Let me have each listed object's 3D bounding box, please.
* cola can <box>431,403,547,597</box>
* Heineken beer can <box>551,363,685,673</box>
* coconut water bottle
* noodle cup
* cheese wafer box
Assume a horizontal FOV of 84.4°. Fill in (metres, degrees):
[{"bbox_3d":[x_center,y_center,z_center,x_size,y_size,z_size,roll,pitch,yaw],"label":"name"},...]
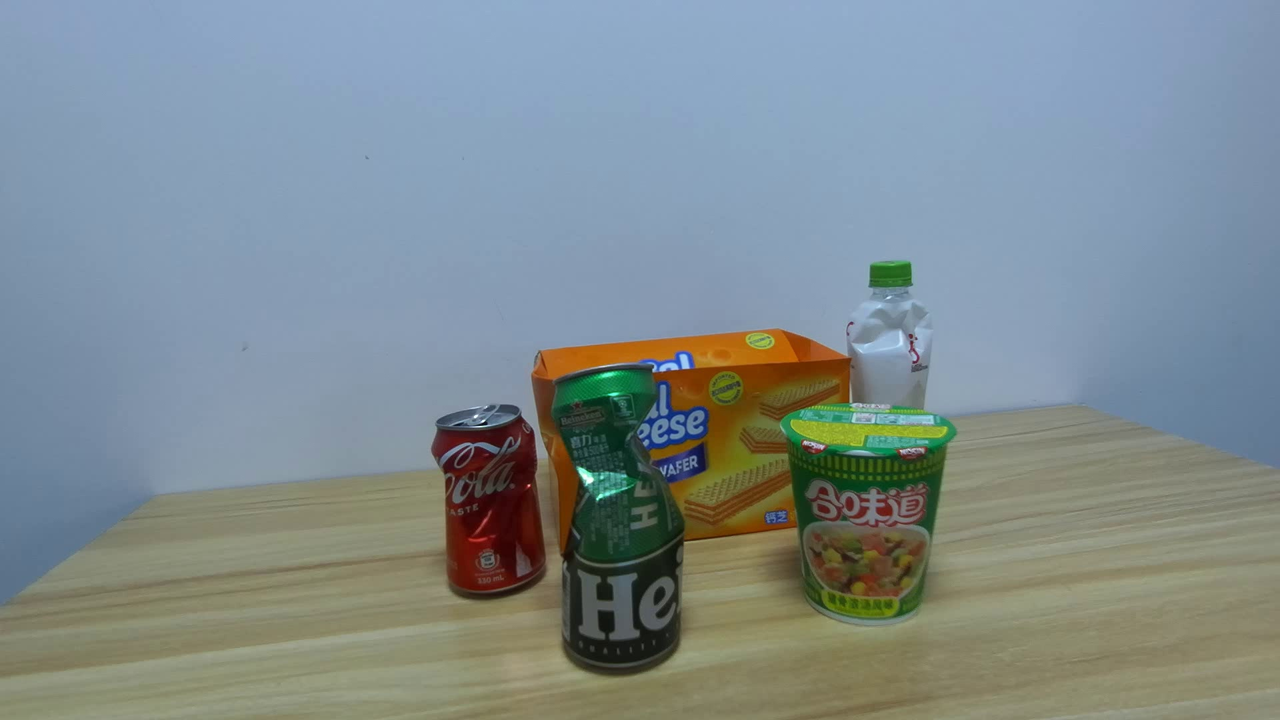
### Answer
[{"bbox_3d":[-0.099,0.089,0.465,0.066,0.117,0.066,-6,11,-17],"label":"cola can"},{"bbox_3d":[-0.012,0.081,0.382,0.067,0.159,0.078,-6,4,-35],"label":"Heineken beer can"},{"bbox_3d":[0.195,0.018,0.553,0.069,0.186,0.069,-3,9,1],"label":"coconut water bottle"},{"bbox_3d":[0.130,0.089,0.414,0.097,0.110,0.097,-2,13,1],"label":"noodle cup"},{"bbox_3d":[0.034,0.057,0.565,0.231,0.132,0.152,-4,12,-10],"label":"cheese wafer box"}]
